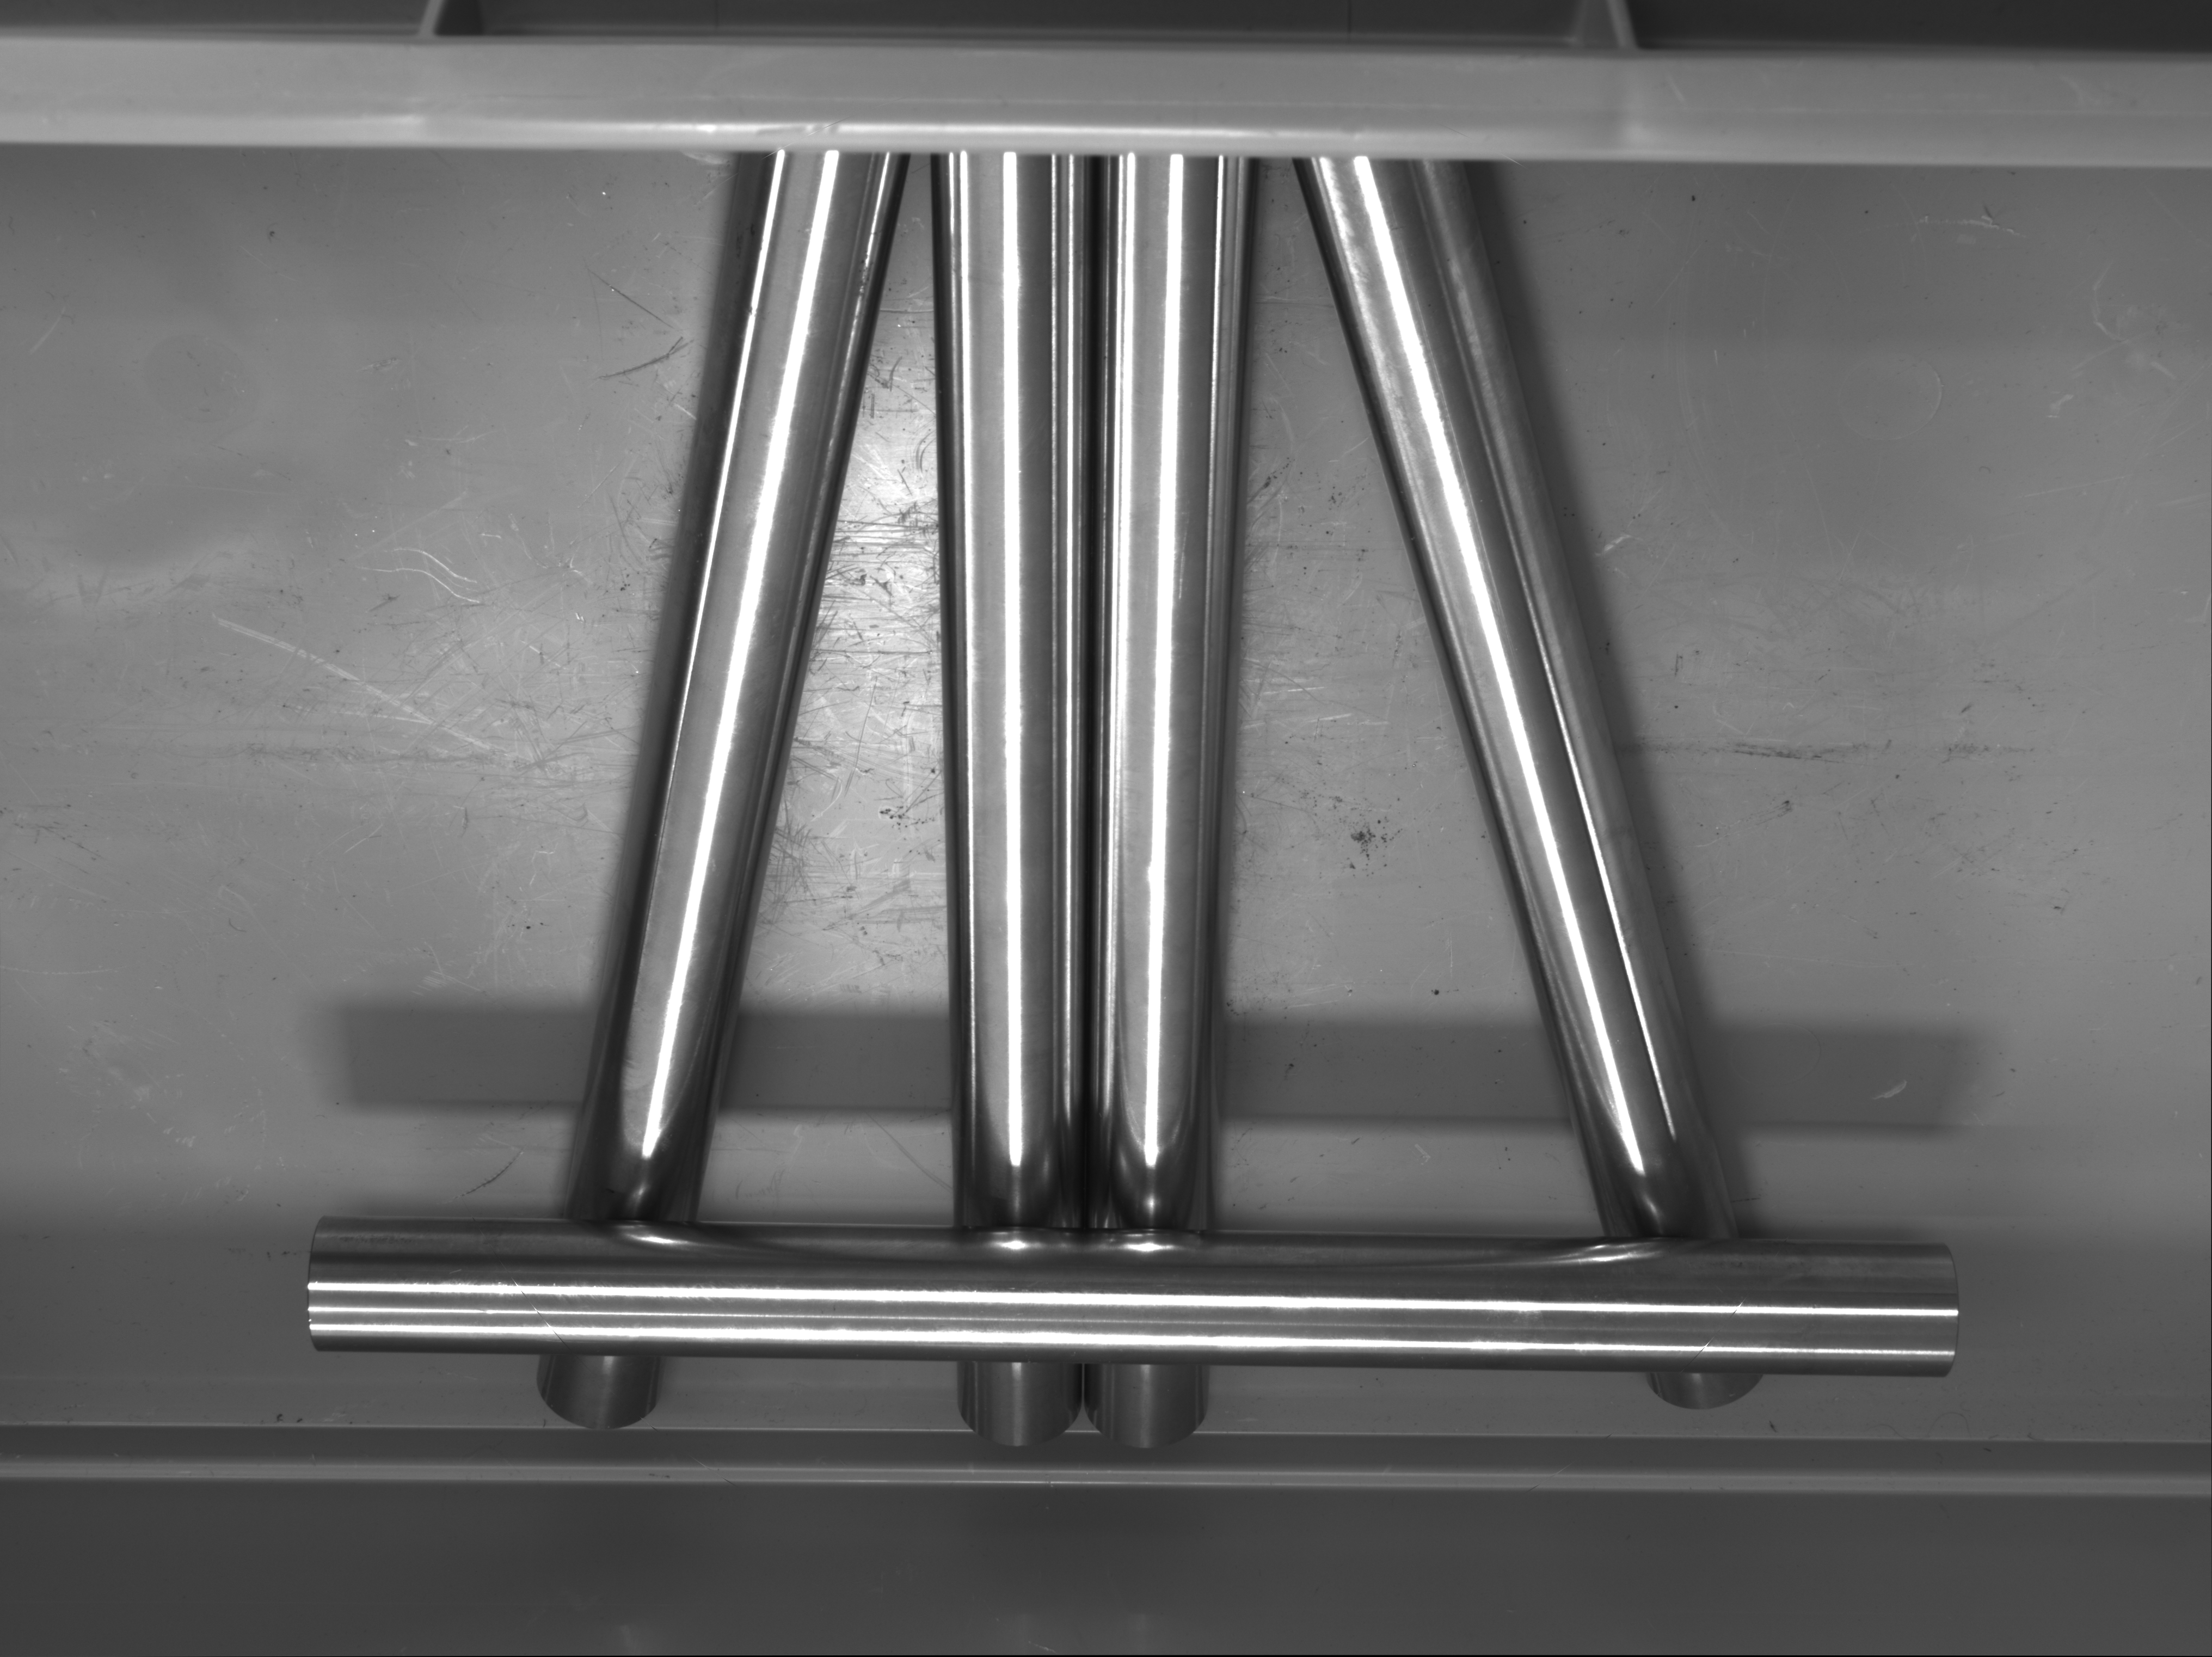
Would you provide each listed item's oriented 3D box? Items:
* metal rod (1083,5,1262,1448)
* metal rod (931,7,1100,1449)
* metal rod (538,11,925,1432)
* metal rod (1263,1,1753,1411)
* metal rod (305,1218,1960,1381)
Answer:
[{"bbox_3d":[0.009,-0.001,0.638,0.025,0.025,0.300,0,130,0],"label":"metal rod"},{"bbox_3d":[-0.015,0.000,0.638,0.025,0.025,0.300,1,130,0],"label":"metal rod"},{"bbox_3d":[-0.070,-0.002,0.636,0.025,0.025,0.300,9,129,-8],"label":"metal rod"},{"bbox_3d":[0.077,-0.005,0.634,0.025,0.025,0.300,-12,129,10],"label":"metal rod"},{"bbox_3d":[0.005,0.087,0.677,0.300,0.025,0.025,1,130,-1],"label":"metal rod"}]
